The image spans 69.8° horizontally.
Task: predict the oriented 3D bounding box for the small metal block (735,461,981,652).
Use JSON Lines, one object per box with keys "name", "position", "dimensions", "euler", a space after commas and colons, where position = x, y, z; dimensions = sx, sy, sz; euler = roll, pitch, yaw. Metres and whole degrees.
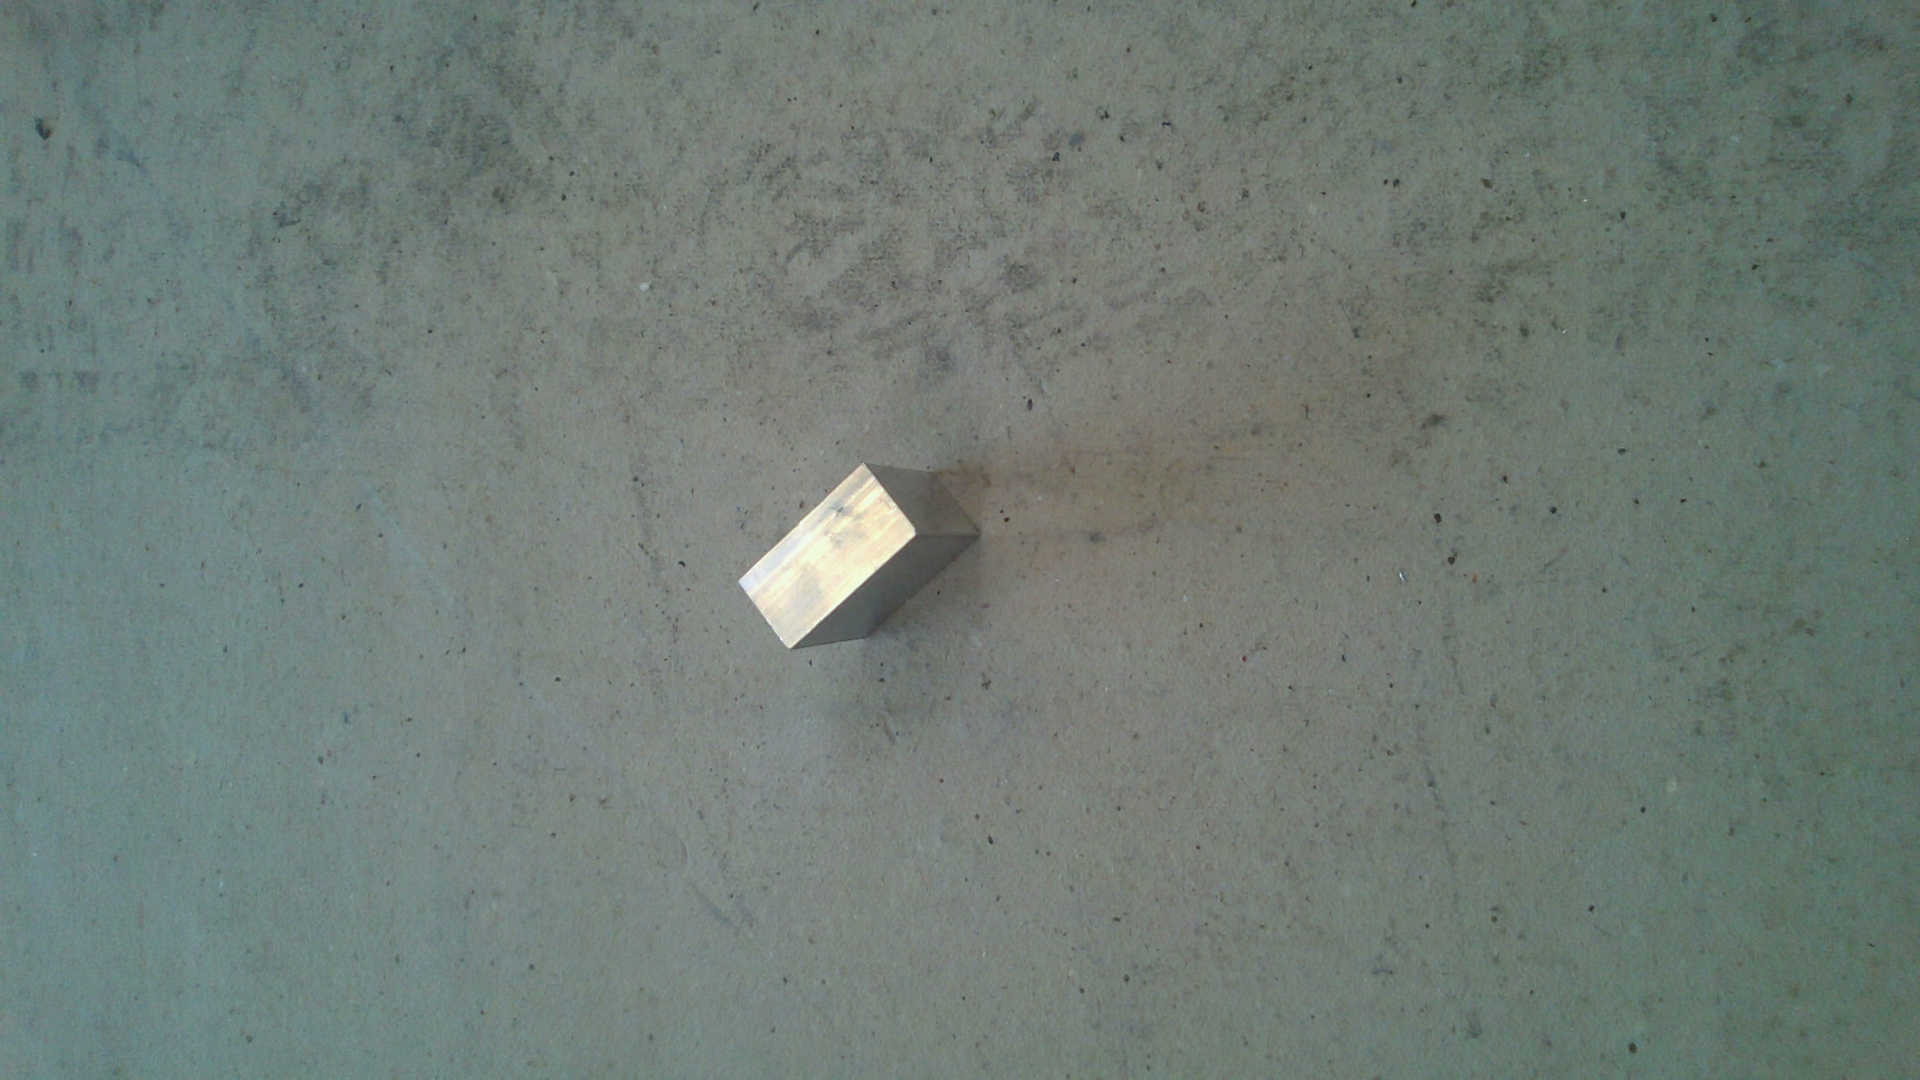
{"name": "small metal block", "position": [-0.028, 0.005, 0.393], "dimensions": [0.050, 0.050, 0.025], "euler": [-42, 77, 15]}
